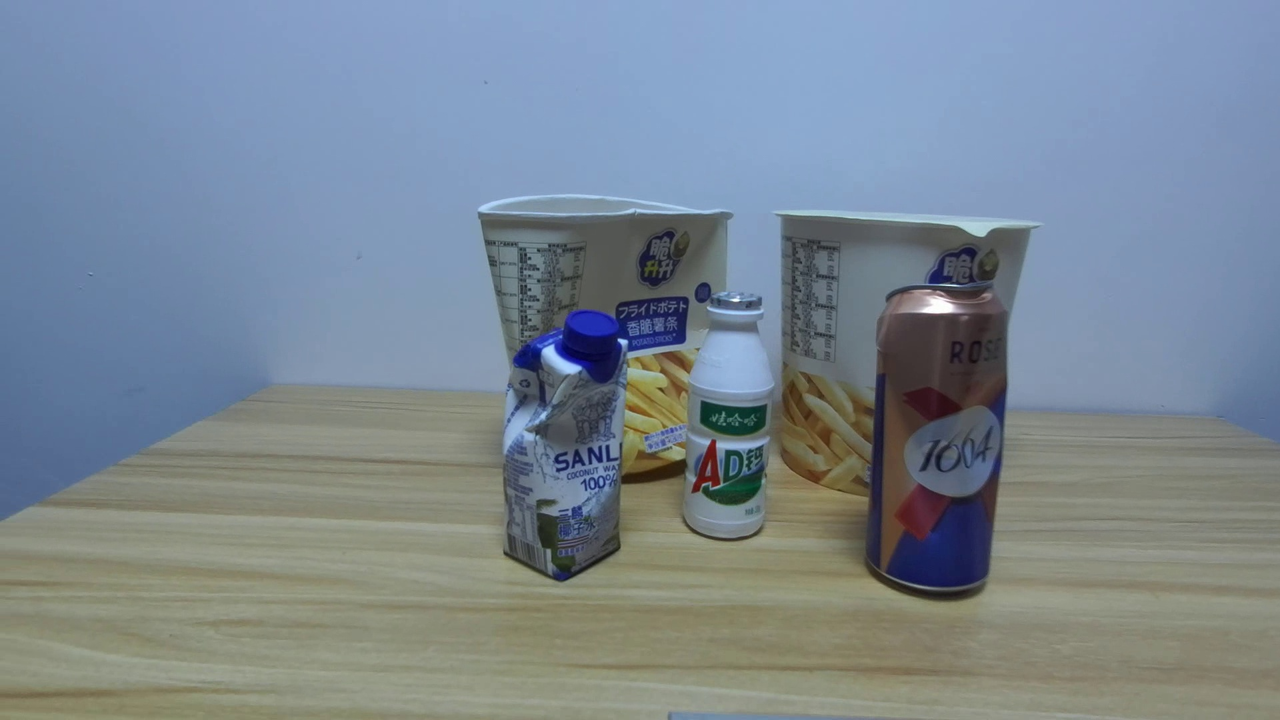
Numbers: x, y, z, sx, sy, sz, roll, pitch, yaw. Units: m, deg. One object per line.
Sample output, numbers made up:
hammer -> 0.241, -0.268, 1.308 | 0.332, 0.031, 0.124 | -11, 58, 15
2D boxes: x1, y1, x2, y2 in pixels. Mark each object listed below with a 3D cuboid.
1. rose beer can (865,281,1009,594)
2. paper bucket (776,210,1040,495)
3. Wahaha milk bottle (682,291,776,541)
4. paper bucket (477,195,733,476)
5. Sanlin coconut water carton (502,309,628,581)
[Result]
rose beer can -> 0.163, 0.042, 0.385 | 0.069, 0.168, 0.069 | 3, 12, 18
paper bucket -> 0.190, -0.012, 0.543 | 0.198, 0.194, 0.198 | 2, 14, 0
Wahaha milk bottle -> 0.055, 0.033, 0.431 | 0.053, 0.147, 0.053 | 2, 15, 0
paper bucket -> -0.015, -0.024, 0.549 | 0.147, 0.199, 0.218 | 6, 14, 15
Sanlin coconut water carton -> -0.044, 0.043, 0.392 | 0.069, 0.143, 0.061 | 14, 19, 38
